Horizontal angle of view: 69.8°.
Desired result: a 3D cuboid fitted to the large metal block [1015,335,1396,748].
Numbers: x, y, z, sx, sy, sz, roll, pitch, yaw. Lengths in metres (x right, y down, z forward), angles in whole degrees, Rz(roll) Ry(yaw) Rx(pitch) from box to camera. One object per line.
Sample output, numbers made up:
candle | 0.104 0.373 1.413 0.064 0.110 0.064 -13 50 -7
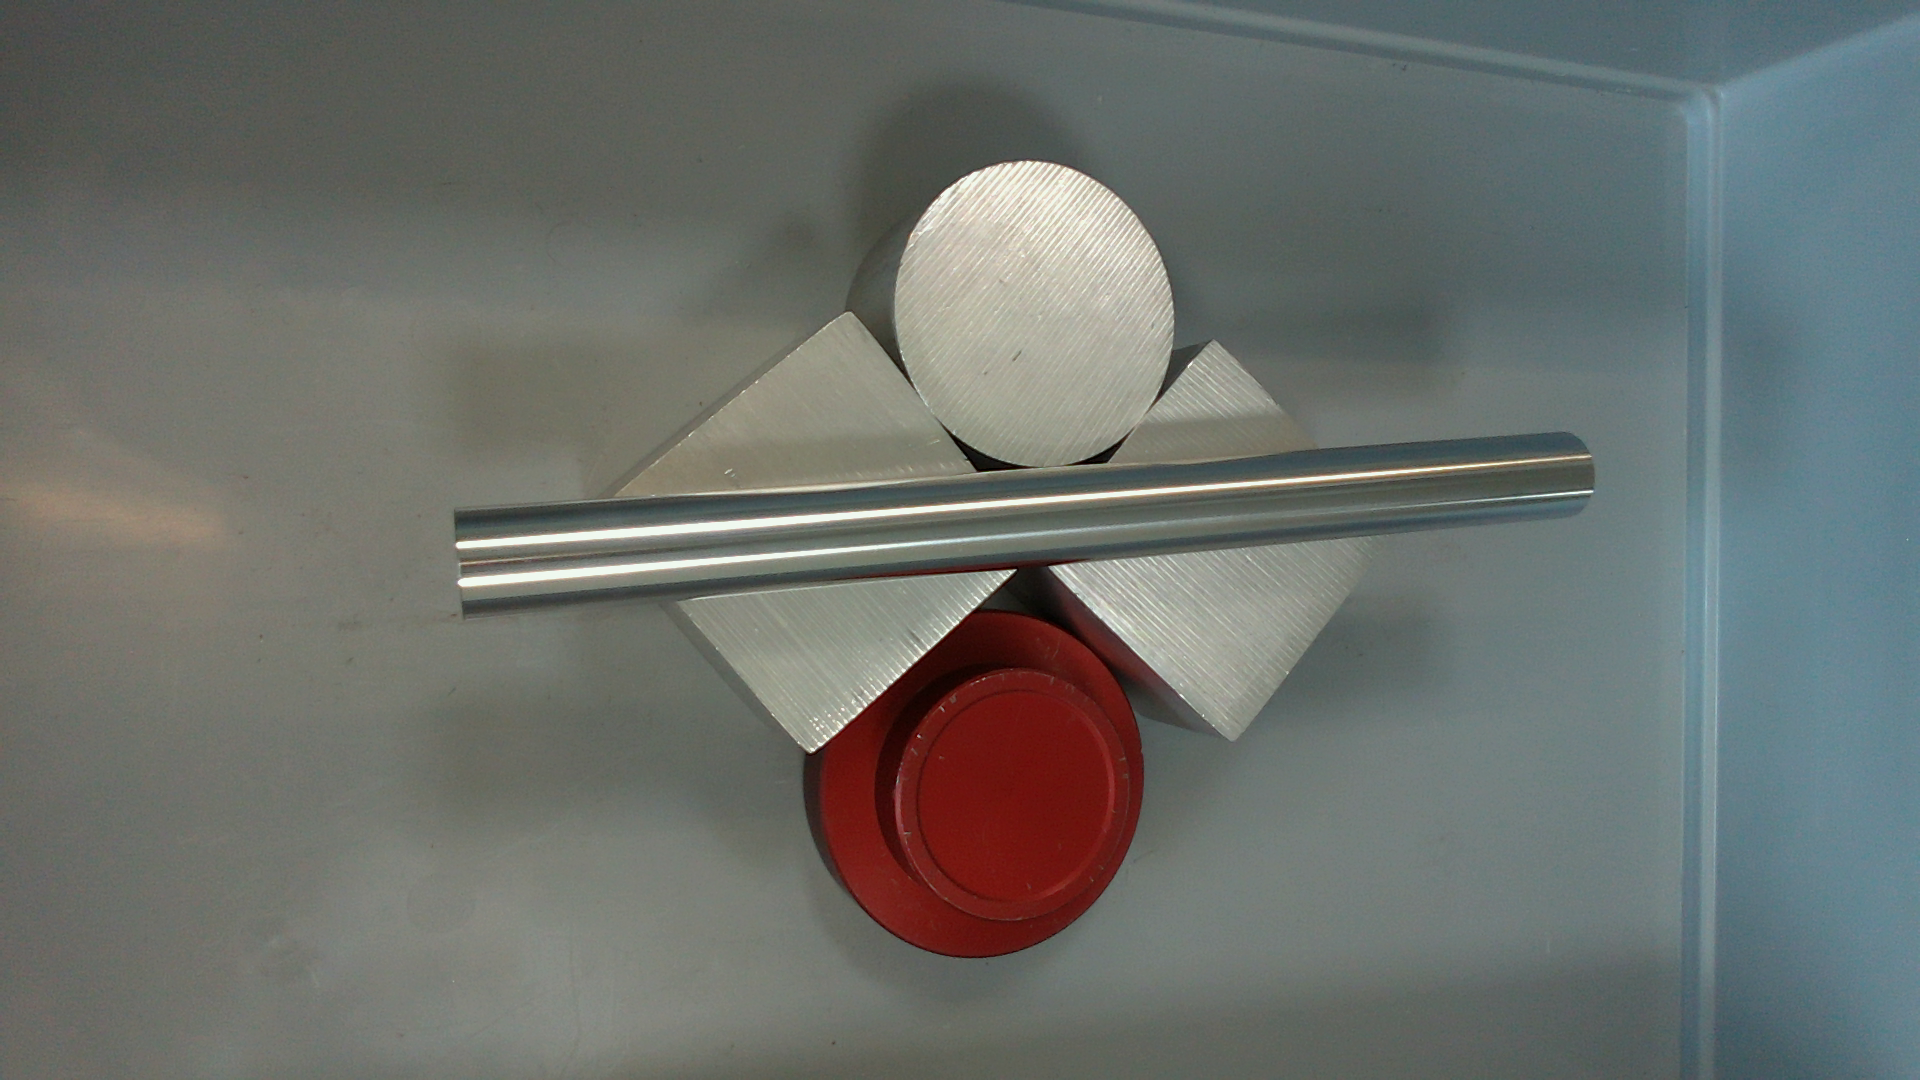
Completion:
large metal block | 0.065 0.000 0.400 0.080 0.050 0.080 44 77 -15

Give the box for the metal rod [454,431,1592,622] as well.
metal rod | 0.032 -0.007 0.349 0.301 0.025 0.025 -5 92 -19

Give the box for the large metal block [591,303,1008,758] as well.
large metal block | -0.041 -0.003 0.363 0.080 0.050 0.080 -41 105 -15

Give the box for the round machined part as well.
round machined part | 0.008 0.069 0.386 0.098 0.042 0.098 0 90 -20

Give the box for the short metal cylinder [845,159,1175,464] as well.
short metal cylinder | 0.012 -0.059 0.383 0.080 0.050 0.080 0 90 -20
